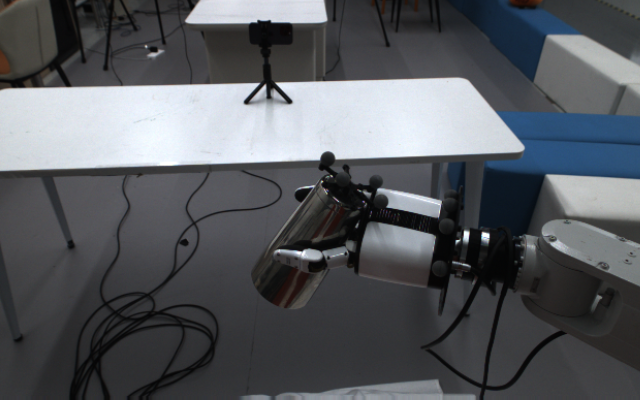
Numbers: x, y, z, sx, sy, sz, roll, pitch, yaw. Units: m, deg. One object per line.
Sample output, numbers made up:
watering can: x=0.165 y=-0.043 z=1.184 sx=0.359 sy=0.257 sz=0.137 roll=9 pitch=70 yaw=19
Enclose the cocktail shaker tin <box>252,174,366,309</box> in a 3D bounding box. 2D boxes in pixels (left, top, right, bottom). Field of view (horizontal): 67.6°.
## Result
cocktail shaker tin: x=-0.010 y=0.046 z=0.622 sx=0.093 sy=0.170 sz=0.093 roll=26 pitch=32 yaw=-18
